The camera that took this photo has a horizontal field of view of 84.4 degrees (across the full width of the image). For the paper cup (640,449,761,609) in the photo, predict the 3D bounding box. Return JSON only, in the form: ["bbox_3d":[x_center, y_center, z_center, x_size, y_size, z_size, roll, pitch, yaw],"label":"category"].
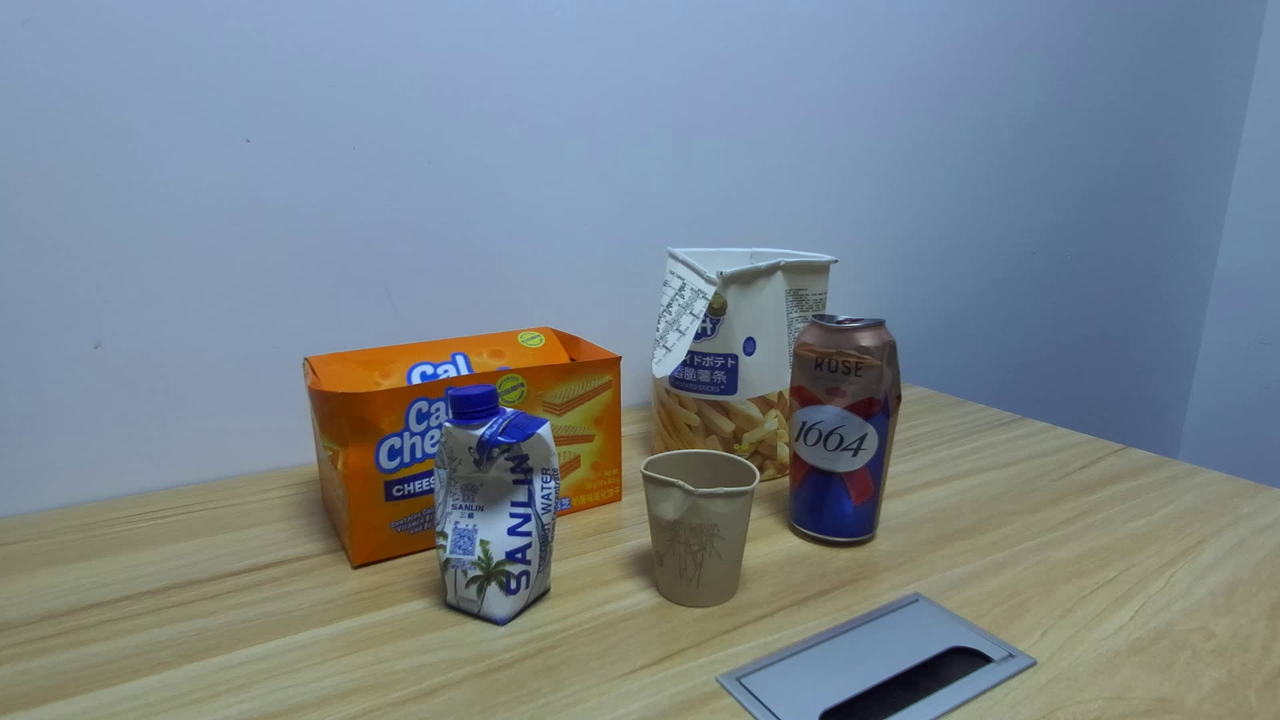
[{"bbox_3d":[0.038,0.108,0.458,0.073,0.081,0.068,-3,14,-13],"label":"paper cup"}]

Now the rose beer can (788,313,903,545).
[{"bbox_3d":[0.150,0.051,0.525,0.065,0.167,0.075,-9,14,-41],"label":"rose beer can"}]

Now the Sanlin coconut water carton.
[{"bbox_3d":[-0.088,0.089,0.431,0.068,0.144,0.057,15,26,27],"label":"Sanlin coconut water carton"}]

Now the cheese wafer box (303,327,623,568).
[{"bbox_3d":[-0.144,0.060,0.582,0.231,0.132,0.151,-7,16,-30],"label":"cheese wafer box"}]

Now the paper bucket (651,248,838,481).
[{"bbox_3d":[0.081,-0.003,0.678,0.170,0.202,0.162,-9,14,-39],"label":"paper bucket"}]
